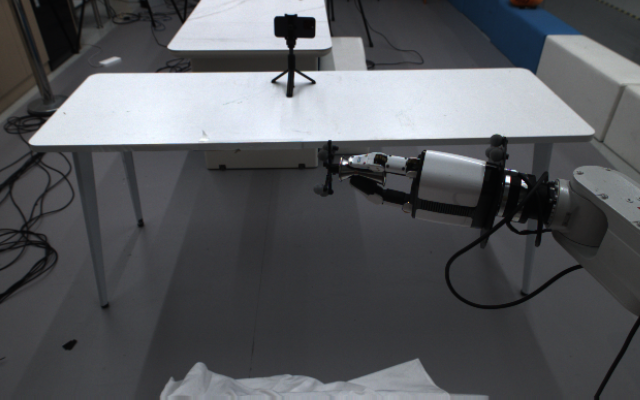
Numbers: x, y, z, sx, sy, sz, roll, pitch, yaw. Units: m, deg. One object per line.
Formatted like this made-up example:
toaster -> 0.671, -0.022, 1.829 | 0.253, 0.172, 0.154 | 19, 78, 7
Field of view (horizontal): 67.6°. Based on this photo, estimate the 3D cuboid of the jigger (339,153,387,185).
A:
jigger -> 0.071, -0.049, 0.728 | 0.071, 0.043, 0.043 | 5, 35, 11
